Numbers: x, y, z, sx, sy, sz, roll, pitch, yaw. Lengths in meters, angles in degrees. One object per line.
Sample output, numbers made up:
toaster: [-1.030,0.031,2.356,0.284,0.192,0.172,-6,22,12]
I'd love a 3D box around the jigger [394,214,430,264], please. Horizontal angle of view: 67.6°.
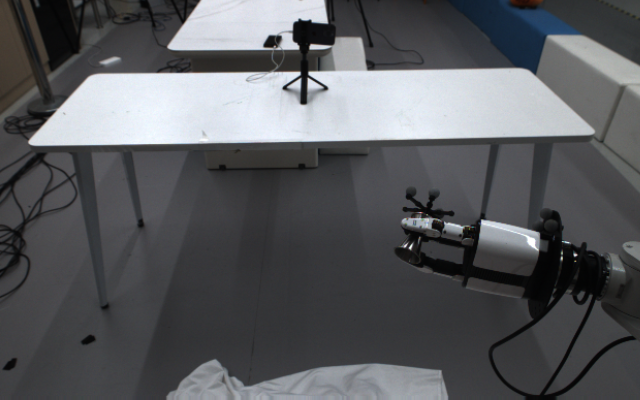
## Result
jigger: [0.143,0.052,0.737,0.043,0.043,0.071,20,62,24]
